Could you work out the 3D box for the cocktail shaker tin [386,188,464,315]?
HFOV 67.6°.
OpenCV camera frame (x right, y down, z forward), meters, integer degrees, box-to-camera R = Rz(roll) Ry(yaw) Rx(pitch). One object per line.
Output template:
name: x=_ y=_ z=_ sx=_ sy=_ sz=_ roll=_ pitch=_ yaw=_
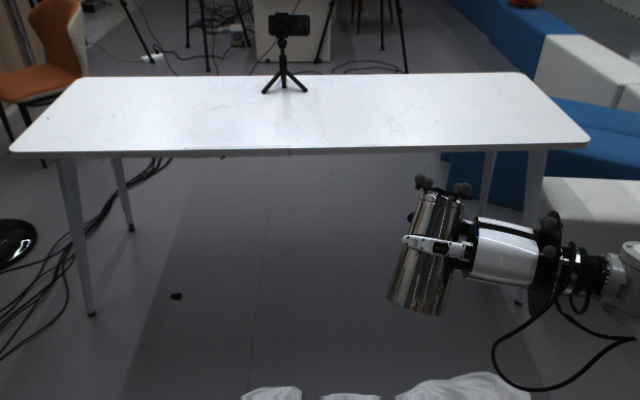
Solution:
cocktail shaker tin: x=0.165 y=0.077 z=0.737 sx=0.093 sy=0.170 sz=0.093 roll=14 pitch=2 yaw=-1
